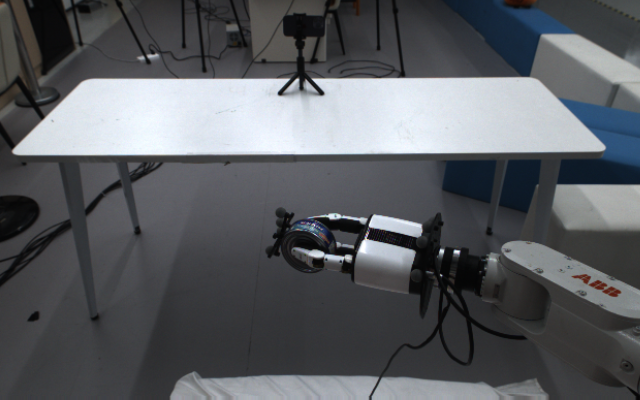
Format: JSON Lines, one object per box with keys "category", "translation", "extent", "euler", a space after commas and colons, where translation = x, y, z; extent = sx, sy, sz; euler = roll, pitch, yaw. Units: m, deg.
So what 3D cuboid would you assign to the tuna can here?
{"category": "tuna can", "translation": [-0.016, 0.076, 0.771], "extent": [0.085, 0.085, 0.034], "euler": [12, 30, 13]}
